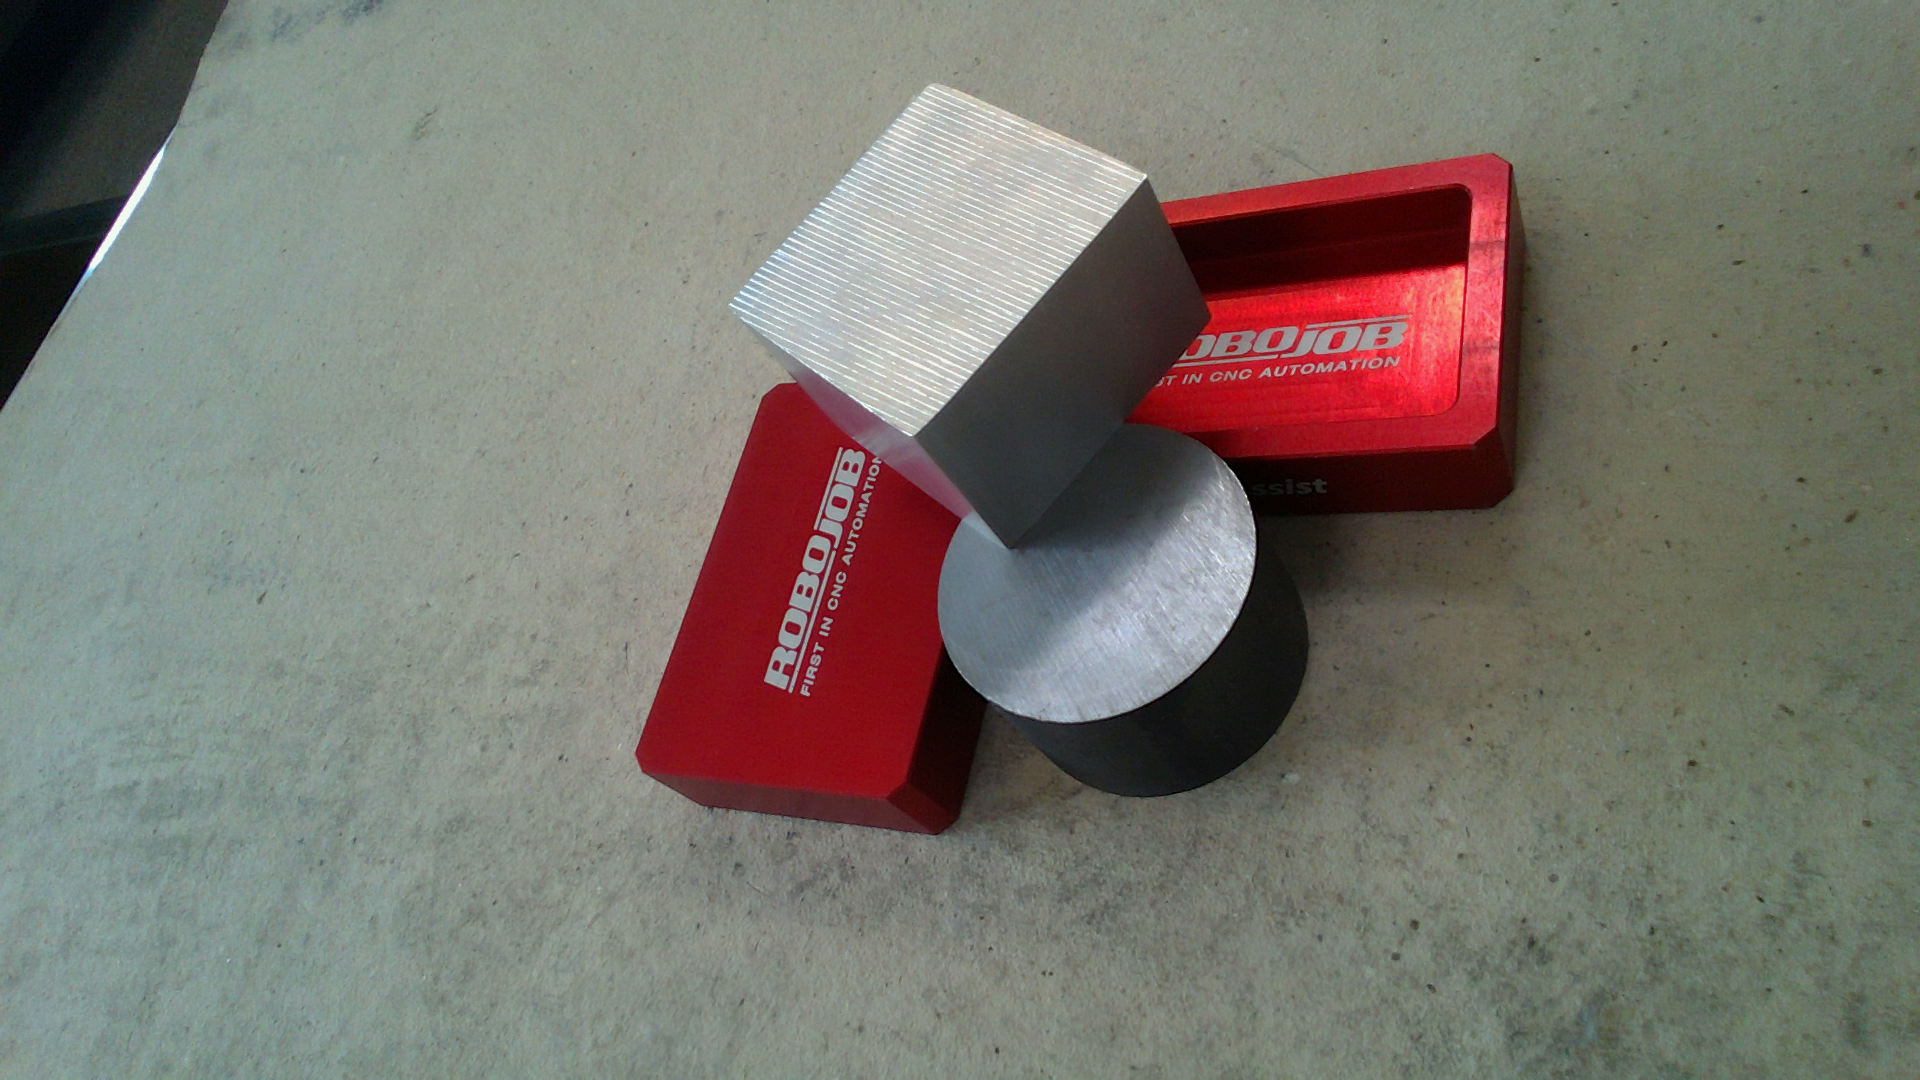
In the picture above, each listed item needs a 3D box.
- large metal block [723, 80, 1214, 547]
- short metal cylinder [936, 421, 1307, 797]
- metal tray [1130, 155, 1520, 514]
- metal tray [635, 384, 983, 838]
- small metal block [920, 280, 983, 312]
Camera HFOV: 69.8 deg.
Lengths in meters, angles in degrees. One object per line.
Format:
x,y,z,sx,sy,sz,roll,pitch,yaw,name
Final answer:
0.002,-0.059,0.346,0.080,0.050,0.080,-48,51,-5,large metal block
0.041,0.018,0.344,0.080,0.050,0.080,-14,56,21,short metal cylinder
0.082,-0.053,0.379,0.130,0.030,0.090,-2,61,28,metal tray
-0.032,0.015,0.400,0.090,0.030,0.130,0,62,29,metal tray
-0.002,-0.059,0.415,0.050,0.050,0.025,1,62,29,small metal block
